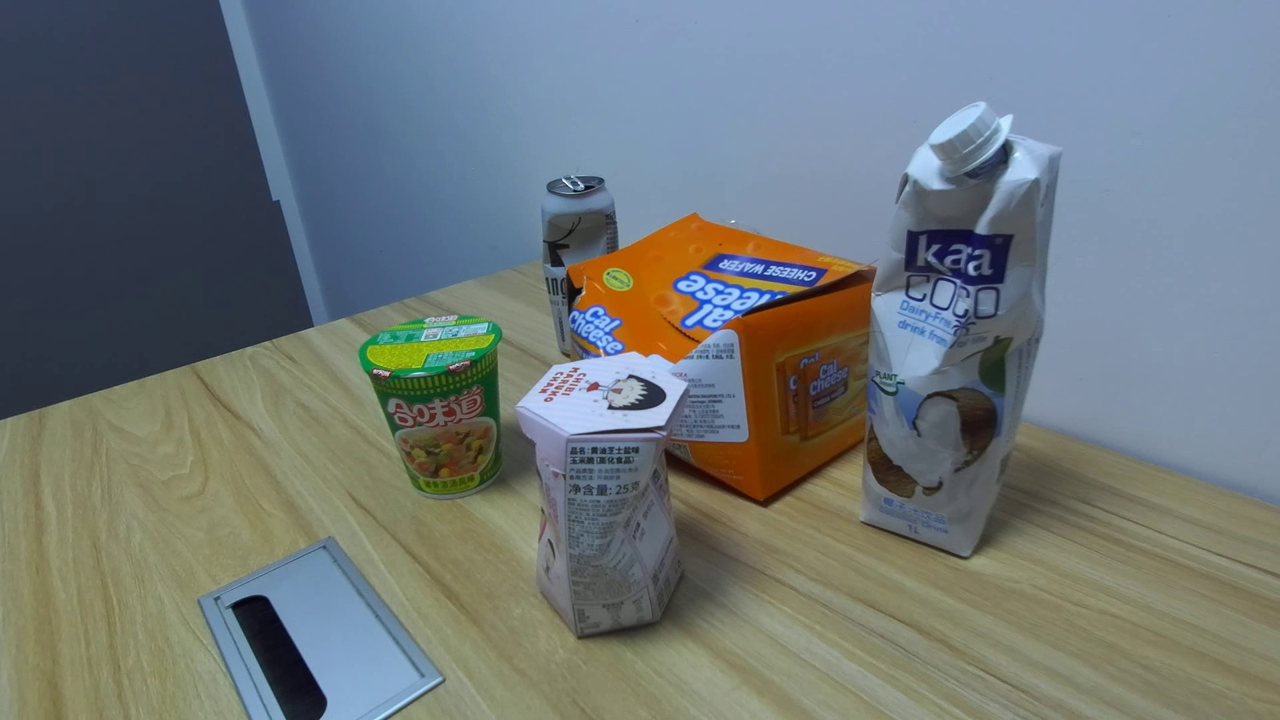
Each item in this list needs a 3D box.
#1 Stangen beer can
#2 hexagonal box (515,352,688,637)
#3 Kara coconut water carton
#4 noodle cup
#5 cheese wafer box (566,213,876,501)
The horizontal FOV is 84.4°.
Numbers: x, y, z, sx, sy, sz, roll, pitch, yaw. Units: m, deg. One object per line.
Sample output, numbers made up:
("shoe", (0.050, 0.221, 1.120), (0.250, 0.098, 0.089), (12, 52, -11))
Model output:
("Stangen beer can", (-0.055, -0.088, 0.679), (0.070, 0.173, 0.070), (-27, 36, -38))
("hexagonal box", (-0.013, 0.073, 0.388), (0.091, 0.134, 0.089), (-16, 32, -25))
("Kara coconut water carton", (0.175, -0.014, 0.399), (0.079, 0.256, 0.083), (-26, 34, -34))
("noodle cup", (-0.142, 0.036, 0.509), (0.097, 0.110, 0.097), (-2, 27, 1))
("cheese wafer box", (0.052, -0.015, 0.545), (0.192, 0.145, 0.218), (-23, 32, -35))
